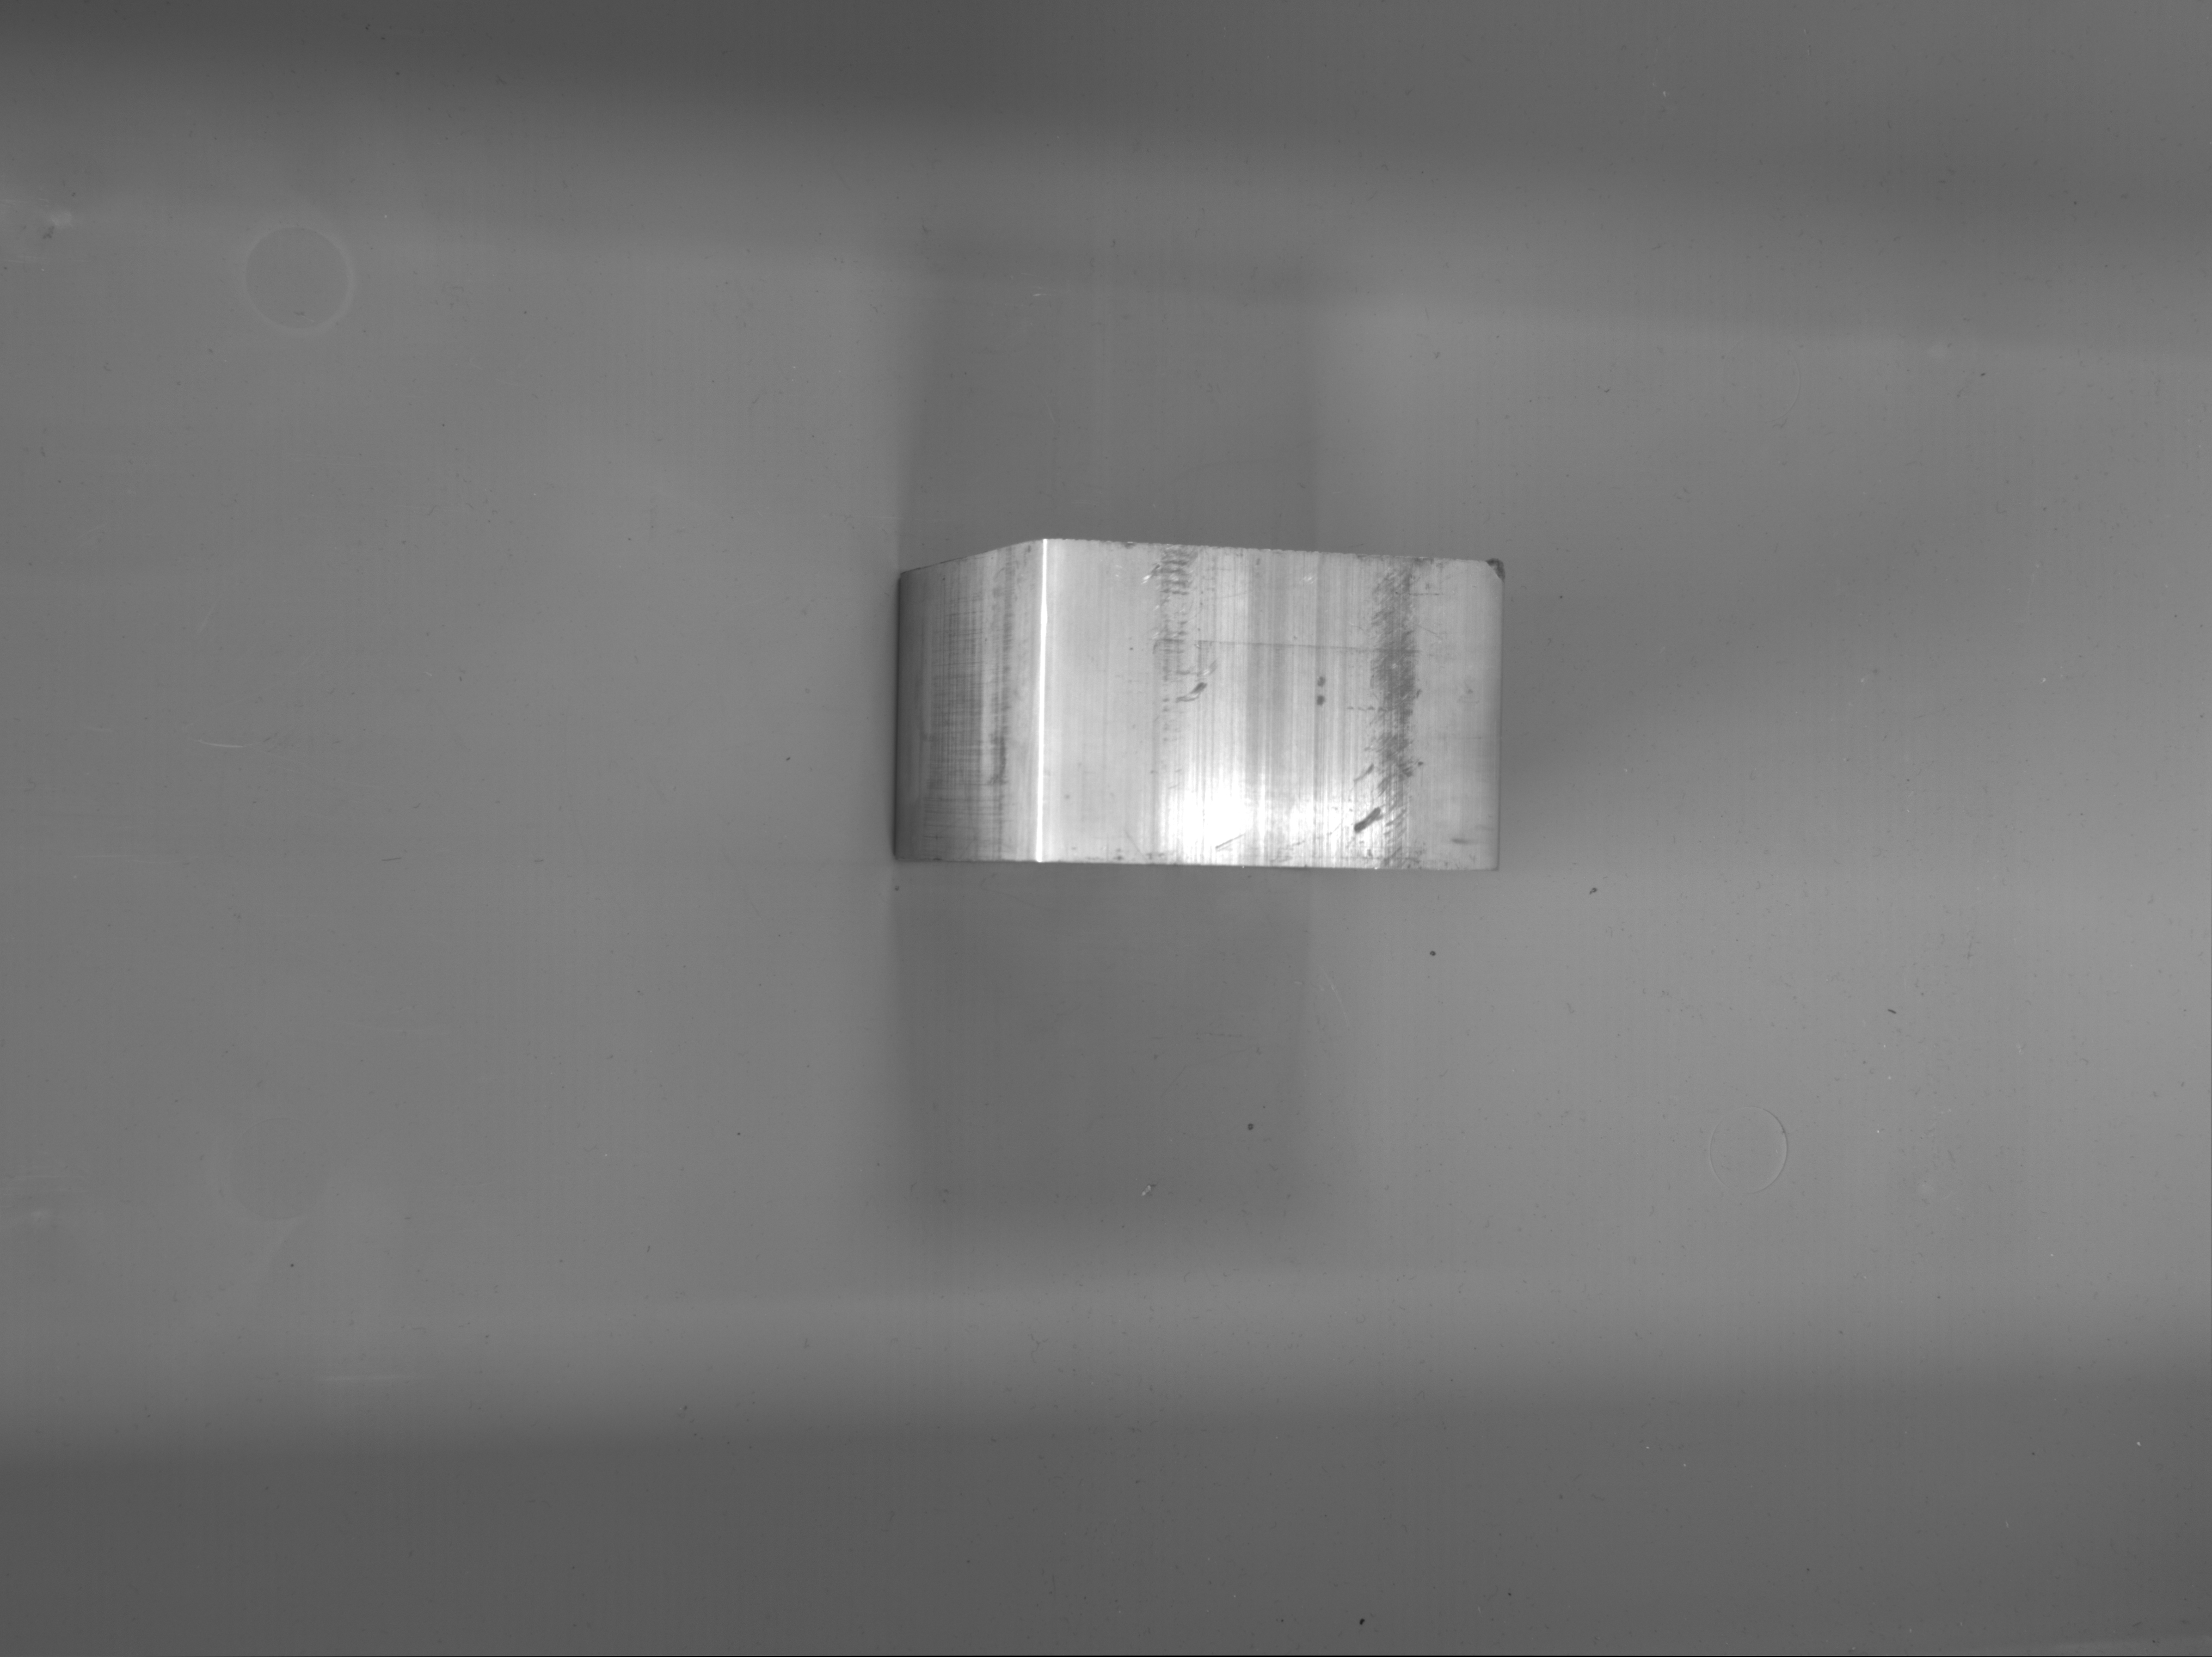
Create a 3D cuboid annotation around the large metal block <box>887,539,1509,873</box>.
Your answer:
[{"bbox_3d":[0.013,-0.019,0.617,0.080,0.080,0.050,1,90,-20],"label":"large metal block"}]
